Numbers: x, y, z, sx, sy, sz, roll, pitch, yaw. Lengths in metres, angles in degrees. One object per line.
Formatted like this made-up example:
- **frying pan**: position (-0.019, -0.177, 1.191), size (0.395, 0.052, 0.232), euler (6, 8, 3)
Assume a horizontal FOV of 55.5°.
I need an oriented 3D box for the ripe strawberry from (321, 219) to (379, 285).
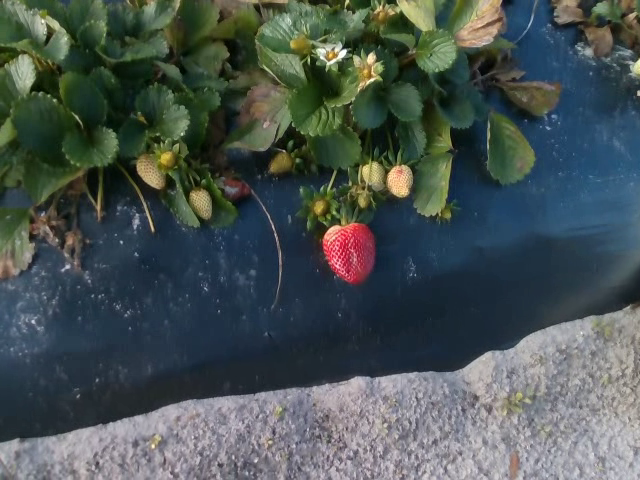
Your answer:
- **ripe strawberry**: position (0.030, 0.013, 0.594), size (0.052, 0.068, 0.045), euler (-7, -32, -12)
